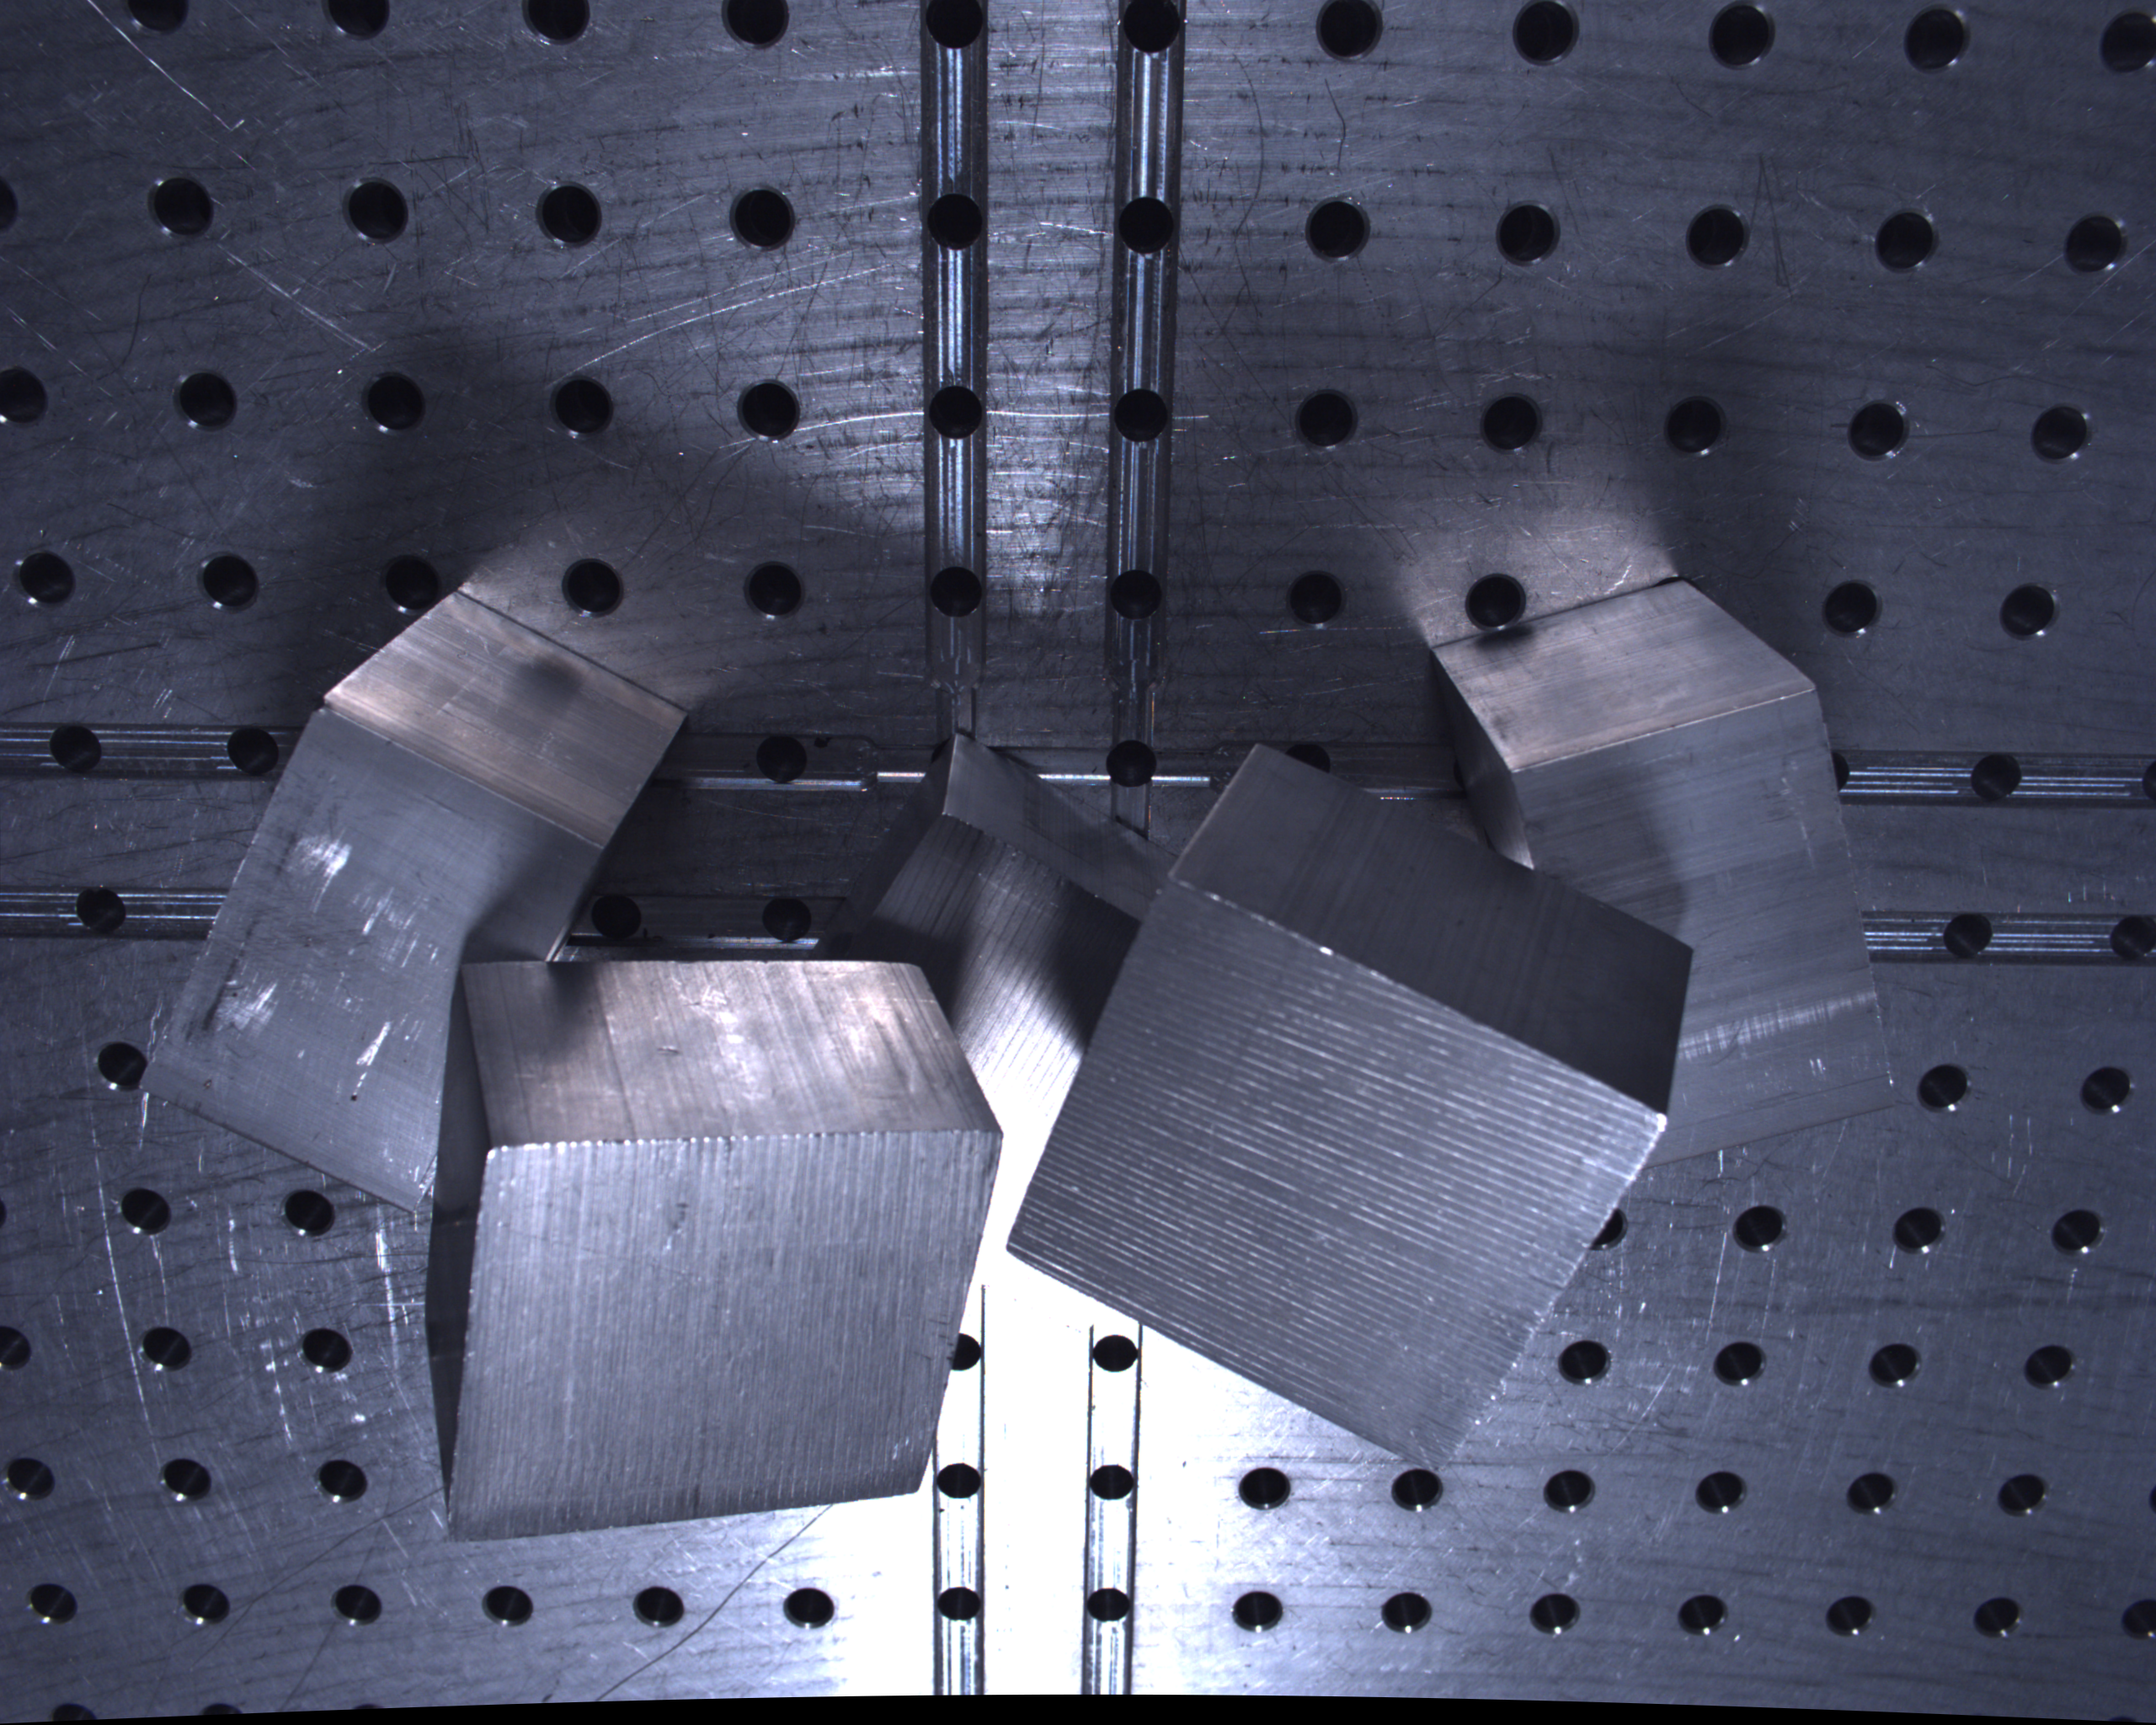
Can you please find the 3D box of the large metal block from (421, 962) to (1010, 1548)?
[{"bbox_3d":[-0.064,0.064,0.353,0.081,0.050,0.079,1,119,-23],"label":"large metal block"}]

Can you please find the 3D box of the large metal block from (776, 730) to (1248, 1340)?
[{"bbox_3d":[-0.011,0.033,0.411,0.080,0.050,0.080,31,107,-11],"label":"large metal block"}]

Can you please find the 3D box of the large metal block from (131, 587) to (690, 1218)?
[{"bbox_3d":[-0.119,0.004,0.383,0.050,0.080,0.080,28,107,-10],"label":"large metal block"}]

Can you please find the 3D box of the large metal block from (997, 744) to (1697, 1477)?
[{"bbox_3d":[0.043,0.040,0.341,0.080,0.050,0.079,26,122,6],"label":"large metal block"}]

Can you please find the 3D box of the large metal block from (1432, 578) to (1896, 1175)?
[{"bbox_3d":[0.105,0.000,0.385,0.050,0.080,0.080,-15,110,5],"label":"large metal block"}]
